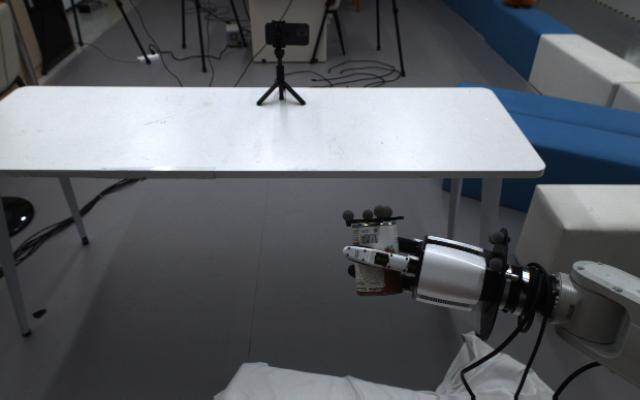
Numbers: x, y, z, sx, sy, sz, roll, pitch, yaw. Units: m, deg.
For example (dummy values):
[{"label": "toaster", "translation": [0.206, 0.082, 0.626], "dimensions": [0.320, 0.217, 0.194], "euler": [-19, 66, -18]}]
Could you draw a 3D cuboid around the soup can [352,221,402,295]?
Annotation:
[{"label": "soup can", "translation": [0.085, 0.085, 0.706], "dimensions": [0.067, 0.101, 0.067], "euler": [-5, -5, 0]}]
